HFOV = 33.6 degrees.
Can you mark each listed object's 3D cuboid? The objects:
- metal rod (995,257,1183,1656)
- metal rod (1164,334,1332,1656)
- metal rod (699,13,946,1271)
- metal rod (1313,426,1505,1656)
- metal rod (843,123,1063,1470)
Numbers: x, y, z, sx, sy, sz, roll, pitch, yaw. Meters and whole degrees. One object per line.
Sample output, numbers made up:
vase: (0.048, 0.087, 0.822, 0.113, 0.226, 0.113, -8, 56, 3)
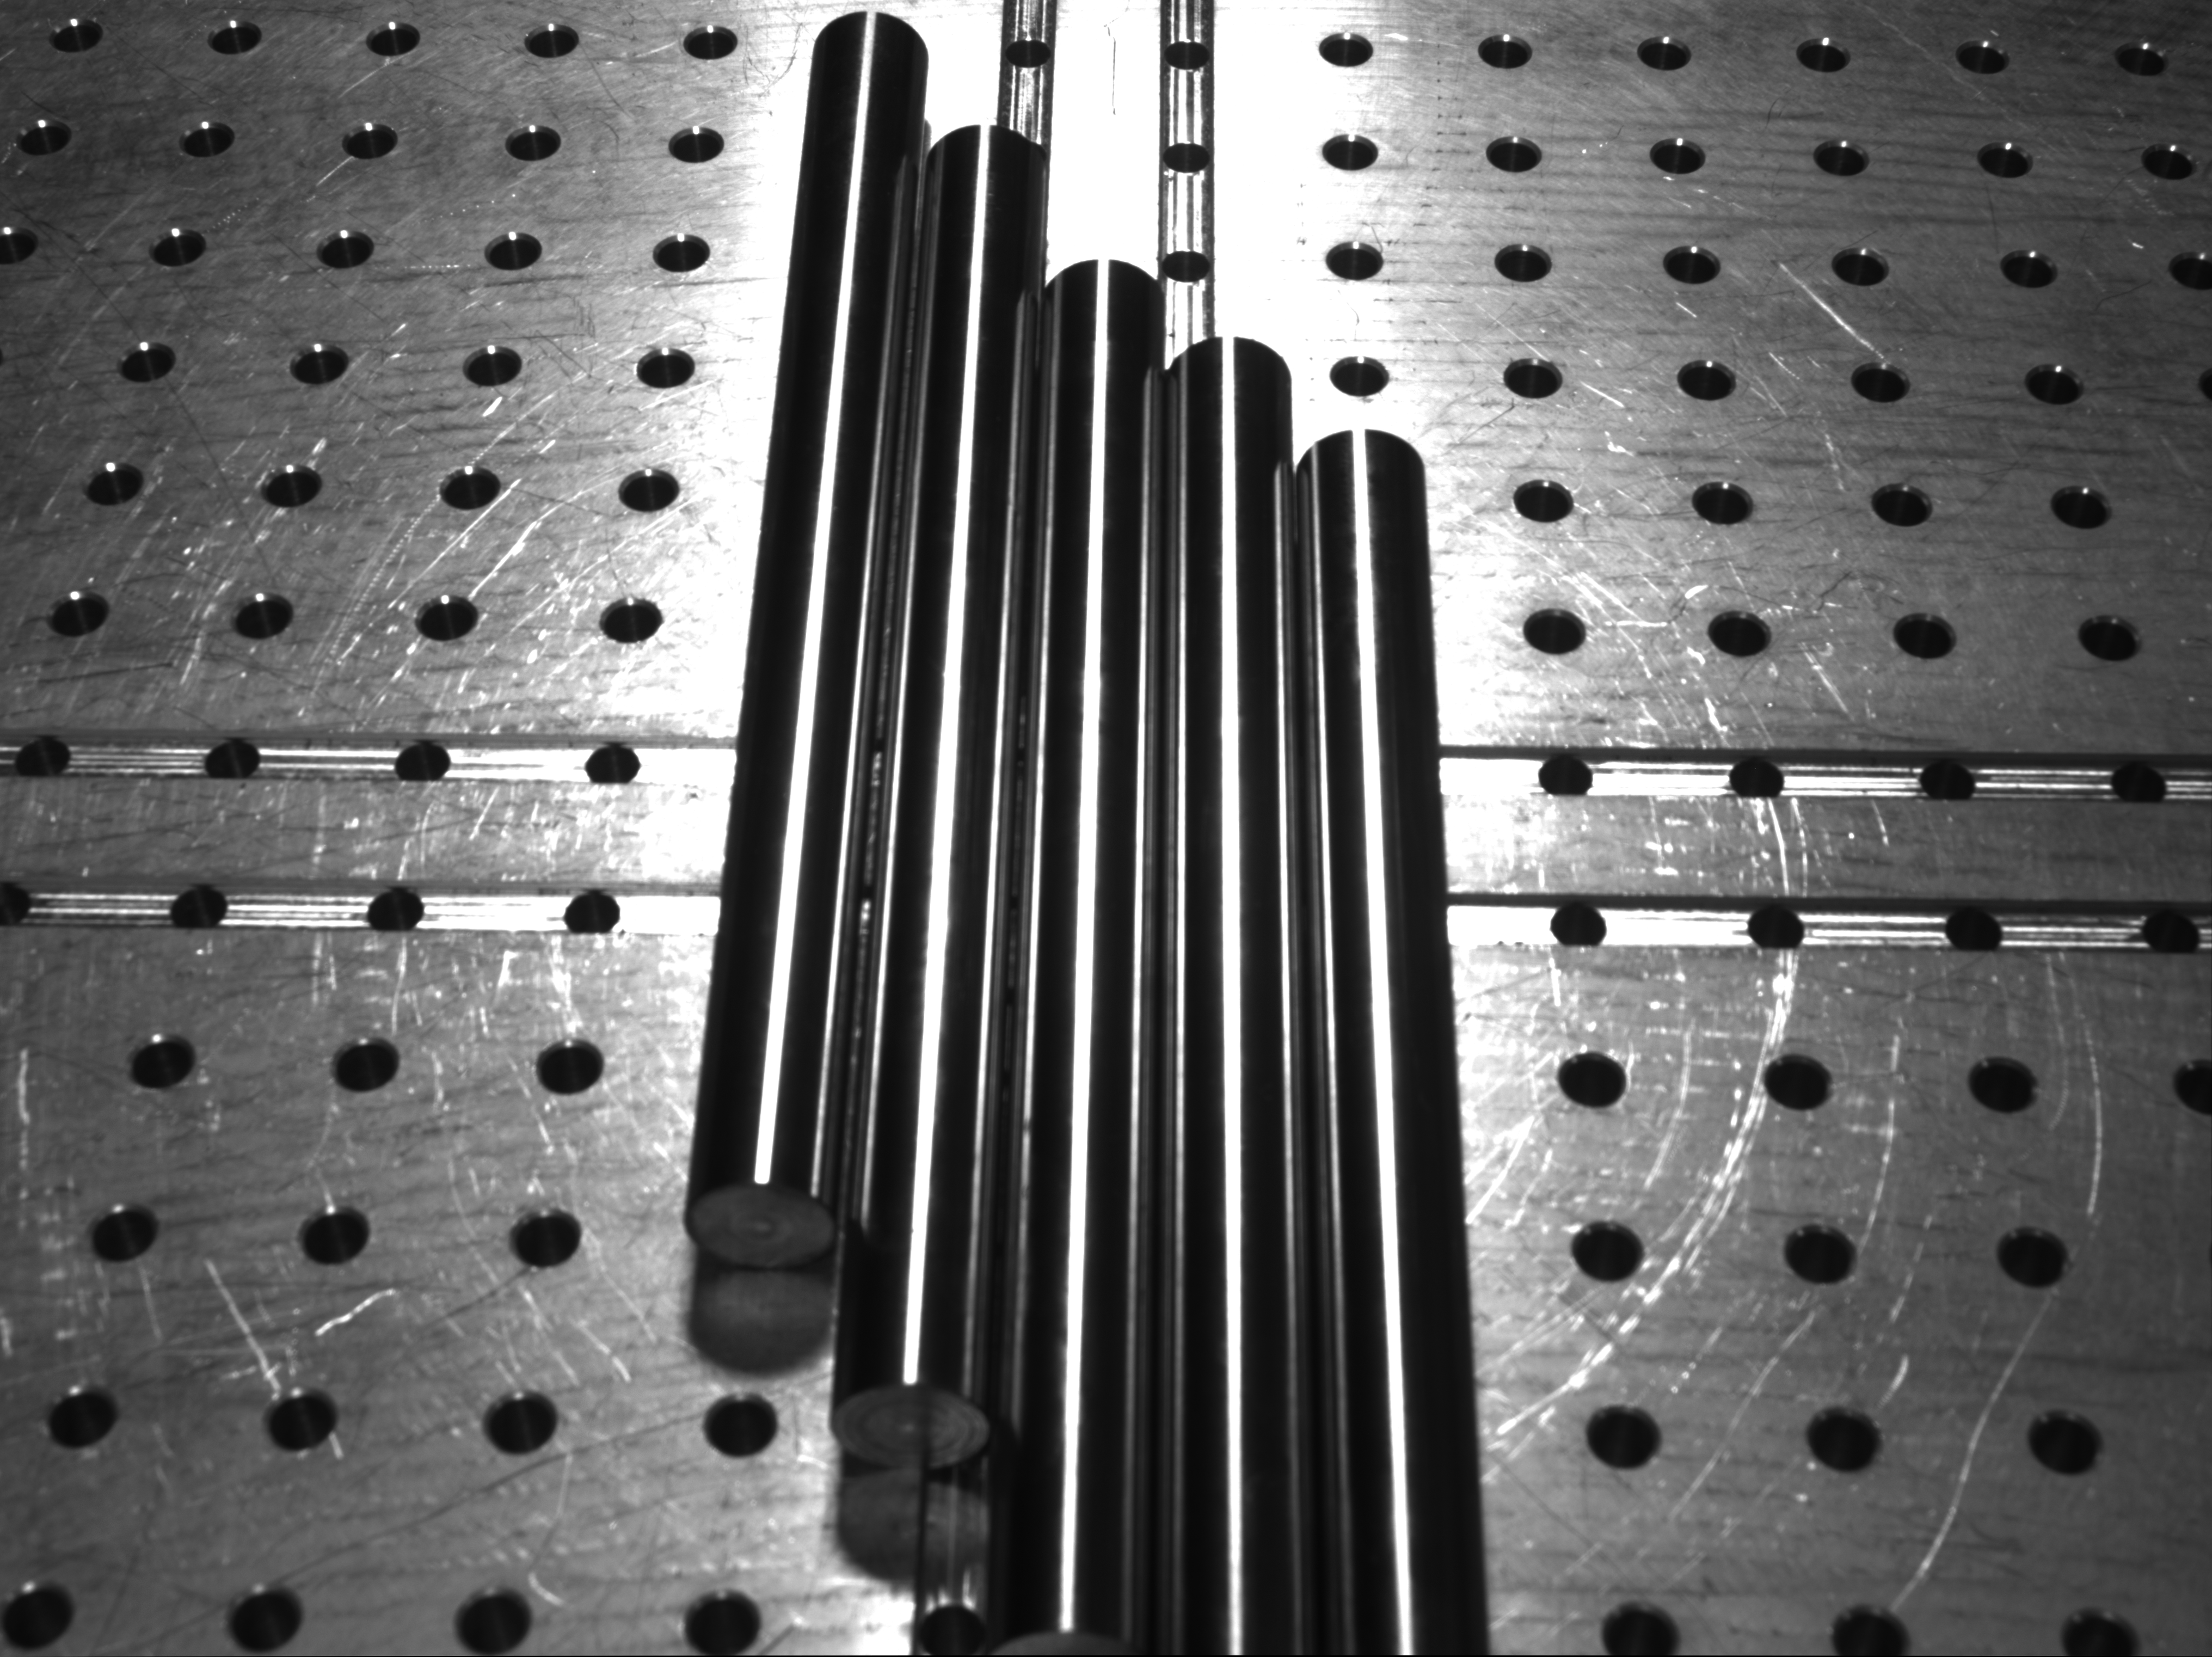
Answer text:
metal rod: (0.000, 0.010, 0.636, 0.025, 0.025, 0.300, 1, 50, 1)
metal rod: (0.024, 0.027, 0.622, 0.025, 0.025, 0.300, 1, 50, 1)
metal rod: (-0.050, -0.050, 0.687, 0.025, 0.025, 0.300, 1, 50, 1)
metal rod: (0.049, 0.046, 0.605, 0.025, 0.025, 0.300, 1, 50, 1)
metal rod: (-0.025, -0.022, 0.662, 0.025, 0.025, 0.300, 1, 50, 1)
